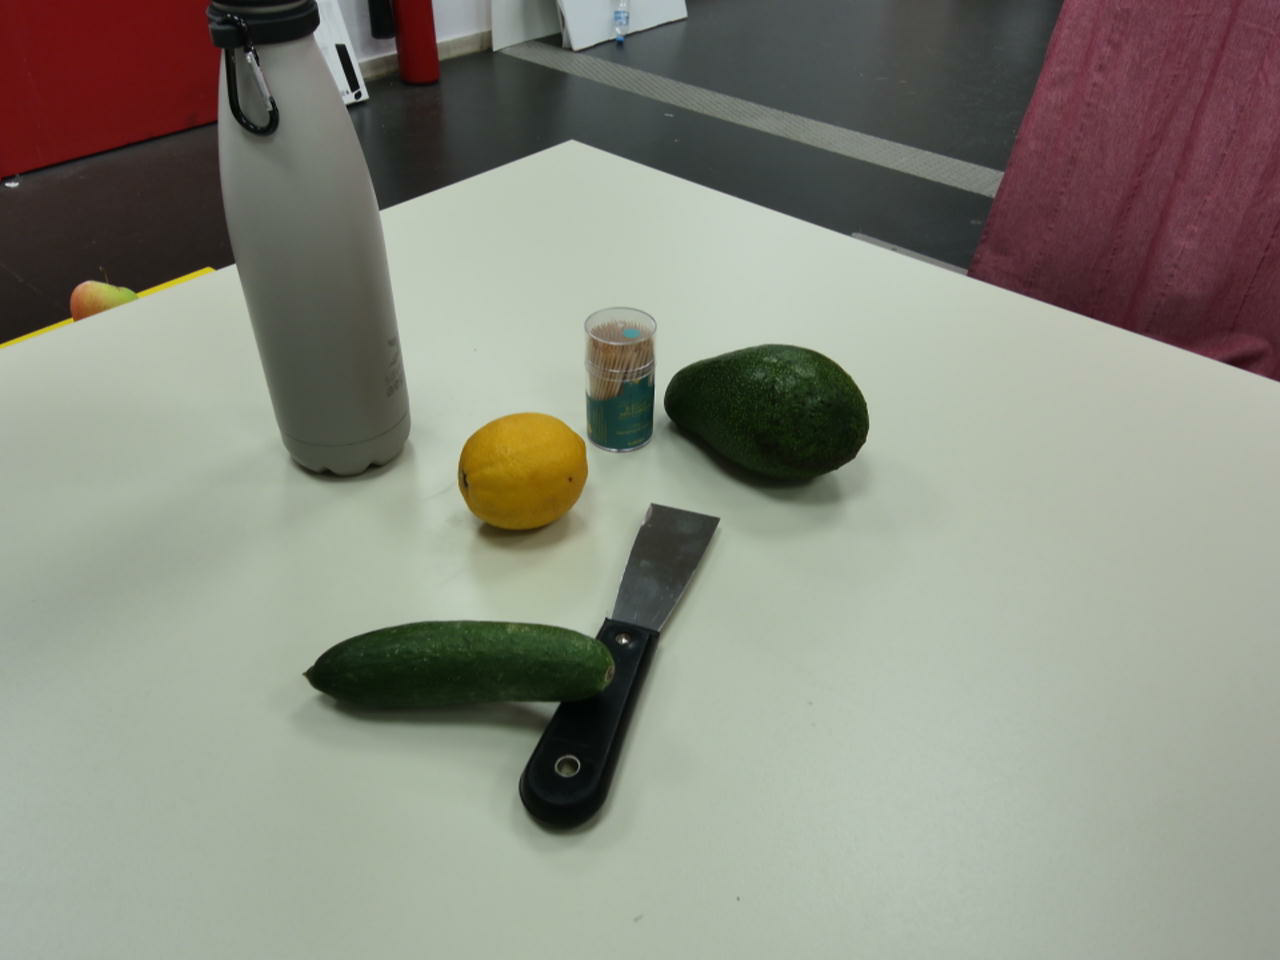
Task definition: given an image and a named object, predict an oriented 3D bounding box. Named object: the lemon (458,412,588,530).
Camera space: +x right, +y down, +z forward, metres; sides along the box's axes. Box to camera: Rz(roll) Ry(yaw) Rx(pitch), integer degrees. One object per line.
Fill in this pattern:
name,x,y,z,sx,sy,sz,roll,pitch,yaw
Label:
lemon,-0.060,-0.004,0.513,0.067,0.059,0.060,-4,37,-7
